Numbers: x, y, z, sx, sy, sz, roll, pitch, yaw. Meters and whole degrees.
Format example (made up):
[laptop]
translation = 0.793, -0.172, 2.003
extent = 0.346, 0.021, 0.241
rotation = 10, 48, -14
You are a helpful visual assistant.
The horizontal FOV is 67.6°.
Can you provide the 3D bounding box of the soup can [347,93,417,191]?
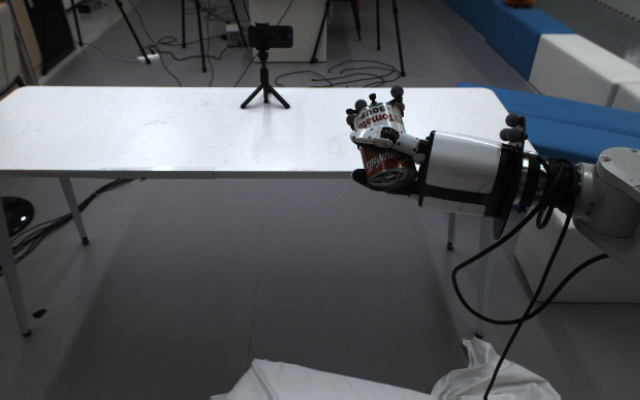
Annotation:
[soup can]
translation = 0.089, -0.073, 0.657
extent = 0.067, 0.067, 0.101
rotation = -6, 68, -12
